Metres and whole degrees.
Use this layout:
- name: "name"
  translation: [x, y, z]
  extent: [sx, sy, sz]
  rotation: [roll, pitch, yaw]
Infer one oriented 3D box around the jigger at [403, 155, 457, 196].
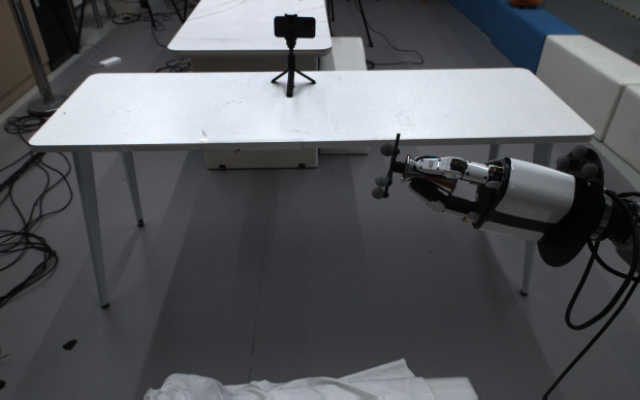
- name: "jigger"
  translation: [0.152, -0.038, 0.648]
  extent: [0.071, 0.043, 0.043]
  rotation: [13, 36, 3]
